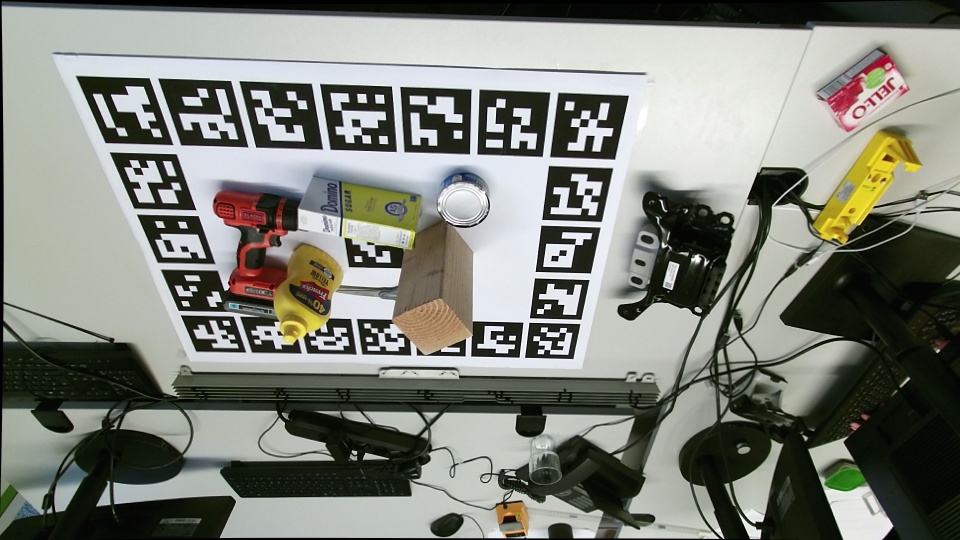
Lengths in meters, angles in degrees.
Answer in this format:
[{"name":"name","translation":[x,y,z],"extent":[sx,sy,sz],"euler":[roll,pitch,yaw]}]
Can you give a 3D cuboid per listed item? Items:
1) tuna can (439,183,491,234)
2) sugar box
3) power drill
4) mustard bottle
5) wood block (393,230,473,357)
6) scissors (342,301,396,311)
[{"name":"tuna can","translation":[-0.025,-0.096,0.865],"extent":[0.086,0.033,0.086],"euler":[0,125,0]},{"name":"sugar box","translation":[-0.191,-0.079,0.845],"extent":[0.177,0.092,0.045],"euler":[12,128,-7]},{"name":"power drill","translation":[-0.337,-0.020,0.904],"extent":[0.185,0.057,0.187],"euler":[12,118,-9]},{"name":"mustard bottle","translation":[-0.290,0.056,0.888],"extent":[0.058,0.191,0.096],"euler":[-34,118,20]},{"name":"wood block","translation":[-0.069,0.033,0.867],"extent":[0.091,0.205,0.090],"euler":[-23,121,15]},{"name":"scissors","translation":[-0.153,0.064,0.991],"extent":[0.203,0.016,0.088],"euler":[3,129,-3]}]
